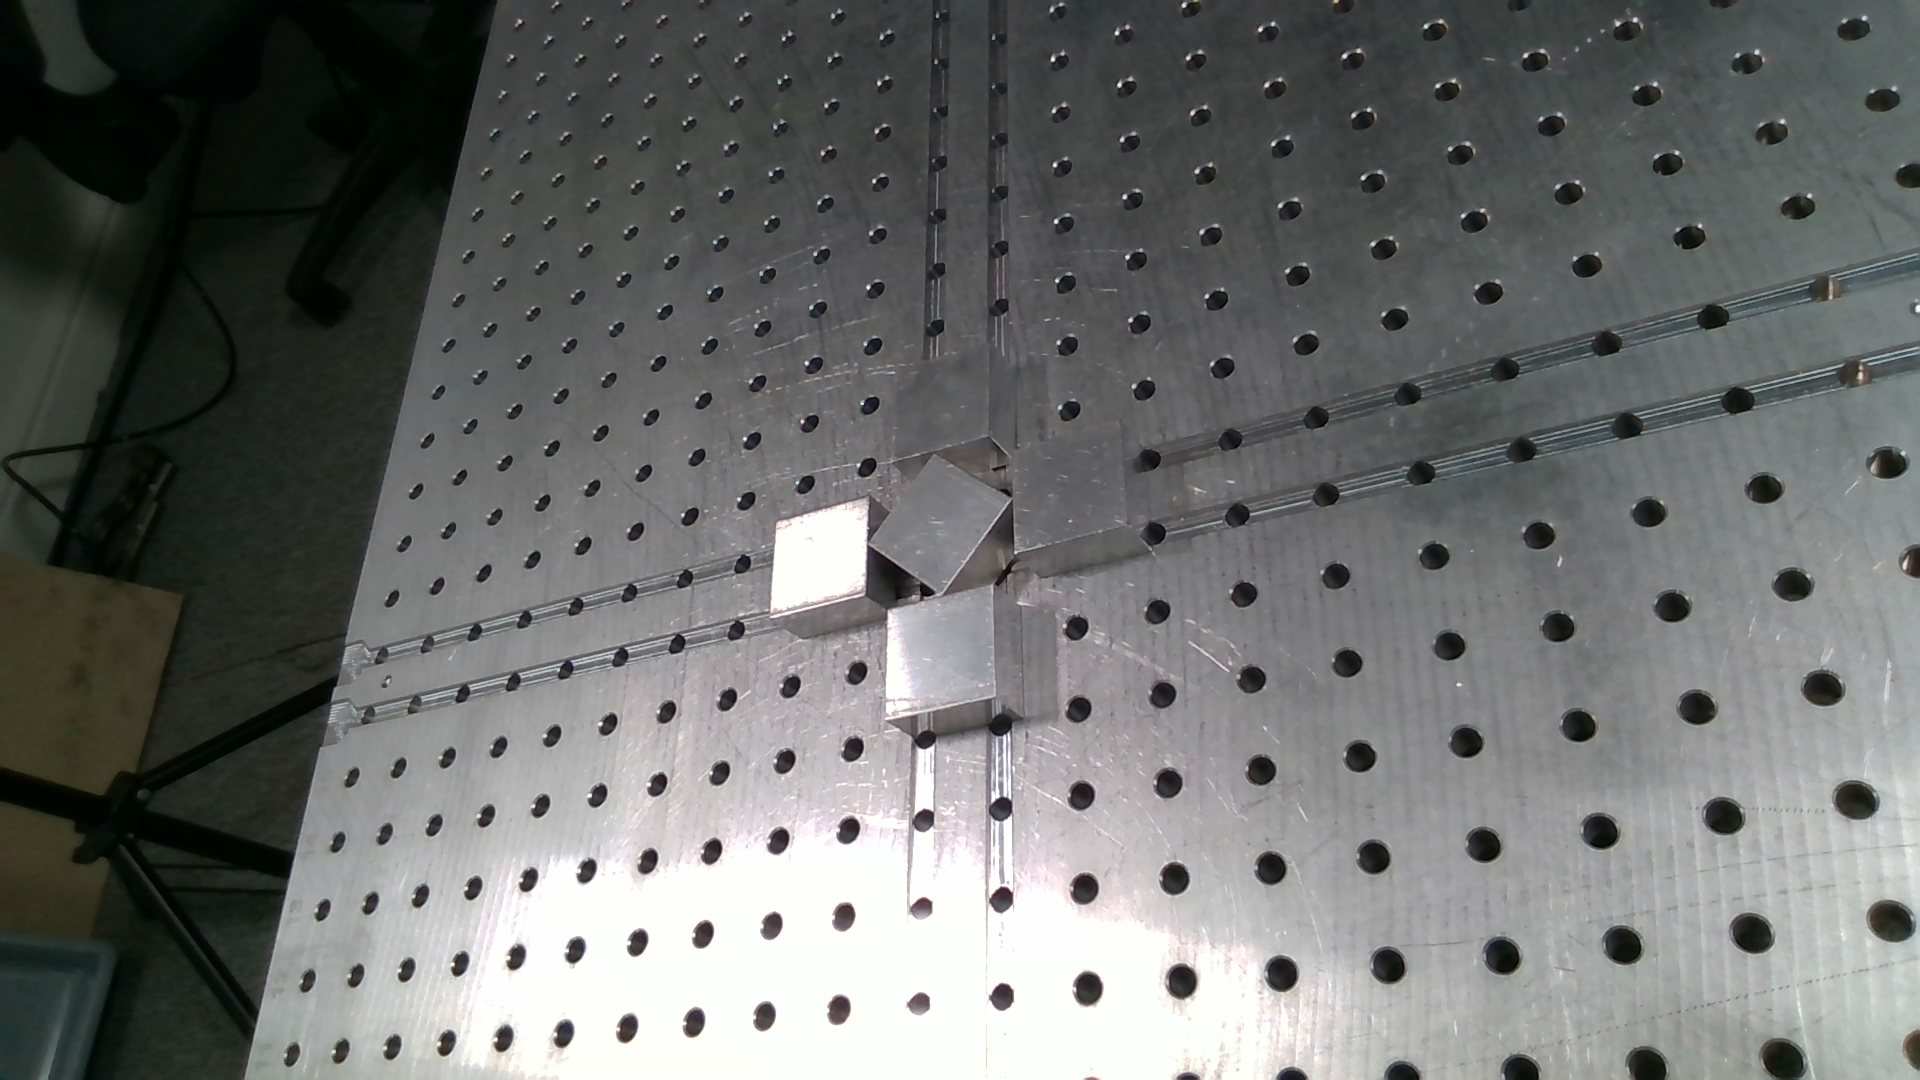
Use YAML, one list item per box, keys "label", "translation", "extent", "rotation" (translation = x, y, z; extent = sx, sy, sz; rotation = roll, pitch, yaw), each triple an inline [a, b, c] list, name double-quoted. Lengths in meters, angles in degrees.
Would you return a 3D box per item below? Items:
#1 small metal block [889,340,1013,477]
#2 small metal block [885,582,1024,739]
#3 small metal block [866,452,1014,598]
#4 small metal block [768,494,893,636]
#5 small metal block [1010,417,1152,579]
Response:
- label: "small metal block"
  translation: [-0.003, -0.056, 0.620]
  extent: [0.050, 0.025, 0.050]
  rotation: [-13, 59, 26]
- label: "small metal block"
  translation: [-0.002, 0.050, 0.564]
  extent: [0.050, 0.025, 0.050]
  rotation: [-15, 59, 25]
- label: "small metal block"
  translation: [-0.004, -0.003, 0.592]
  extent: [0.050, 0.025, 0.050]
  rotation: [33, 85, 39]
- label: "small metal block"
  translation: [-0.057, 0.012, 0.617]
  extent: [0.050, 0.025, 0.050]
  rotation: [-14, 59, 25]
- label: "small metal block"
  translation: [0.049, -0.017, 0.567]
  extent: [0.050, 0.025, 0.050]
  rotation: [-15, 59, 25]
